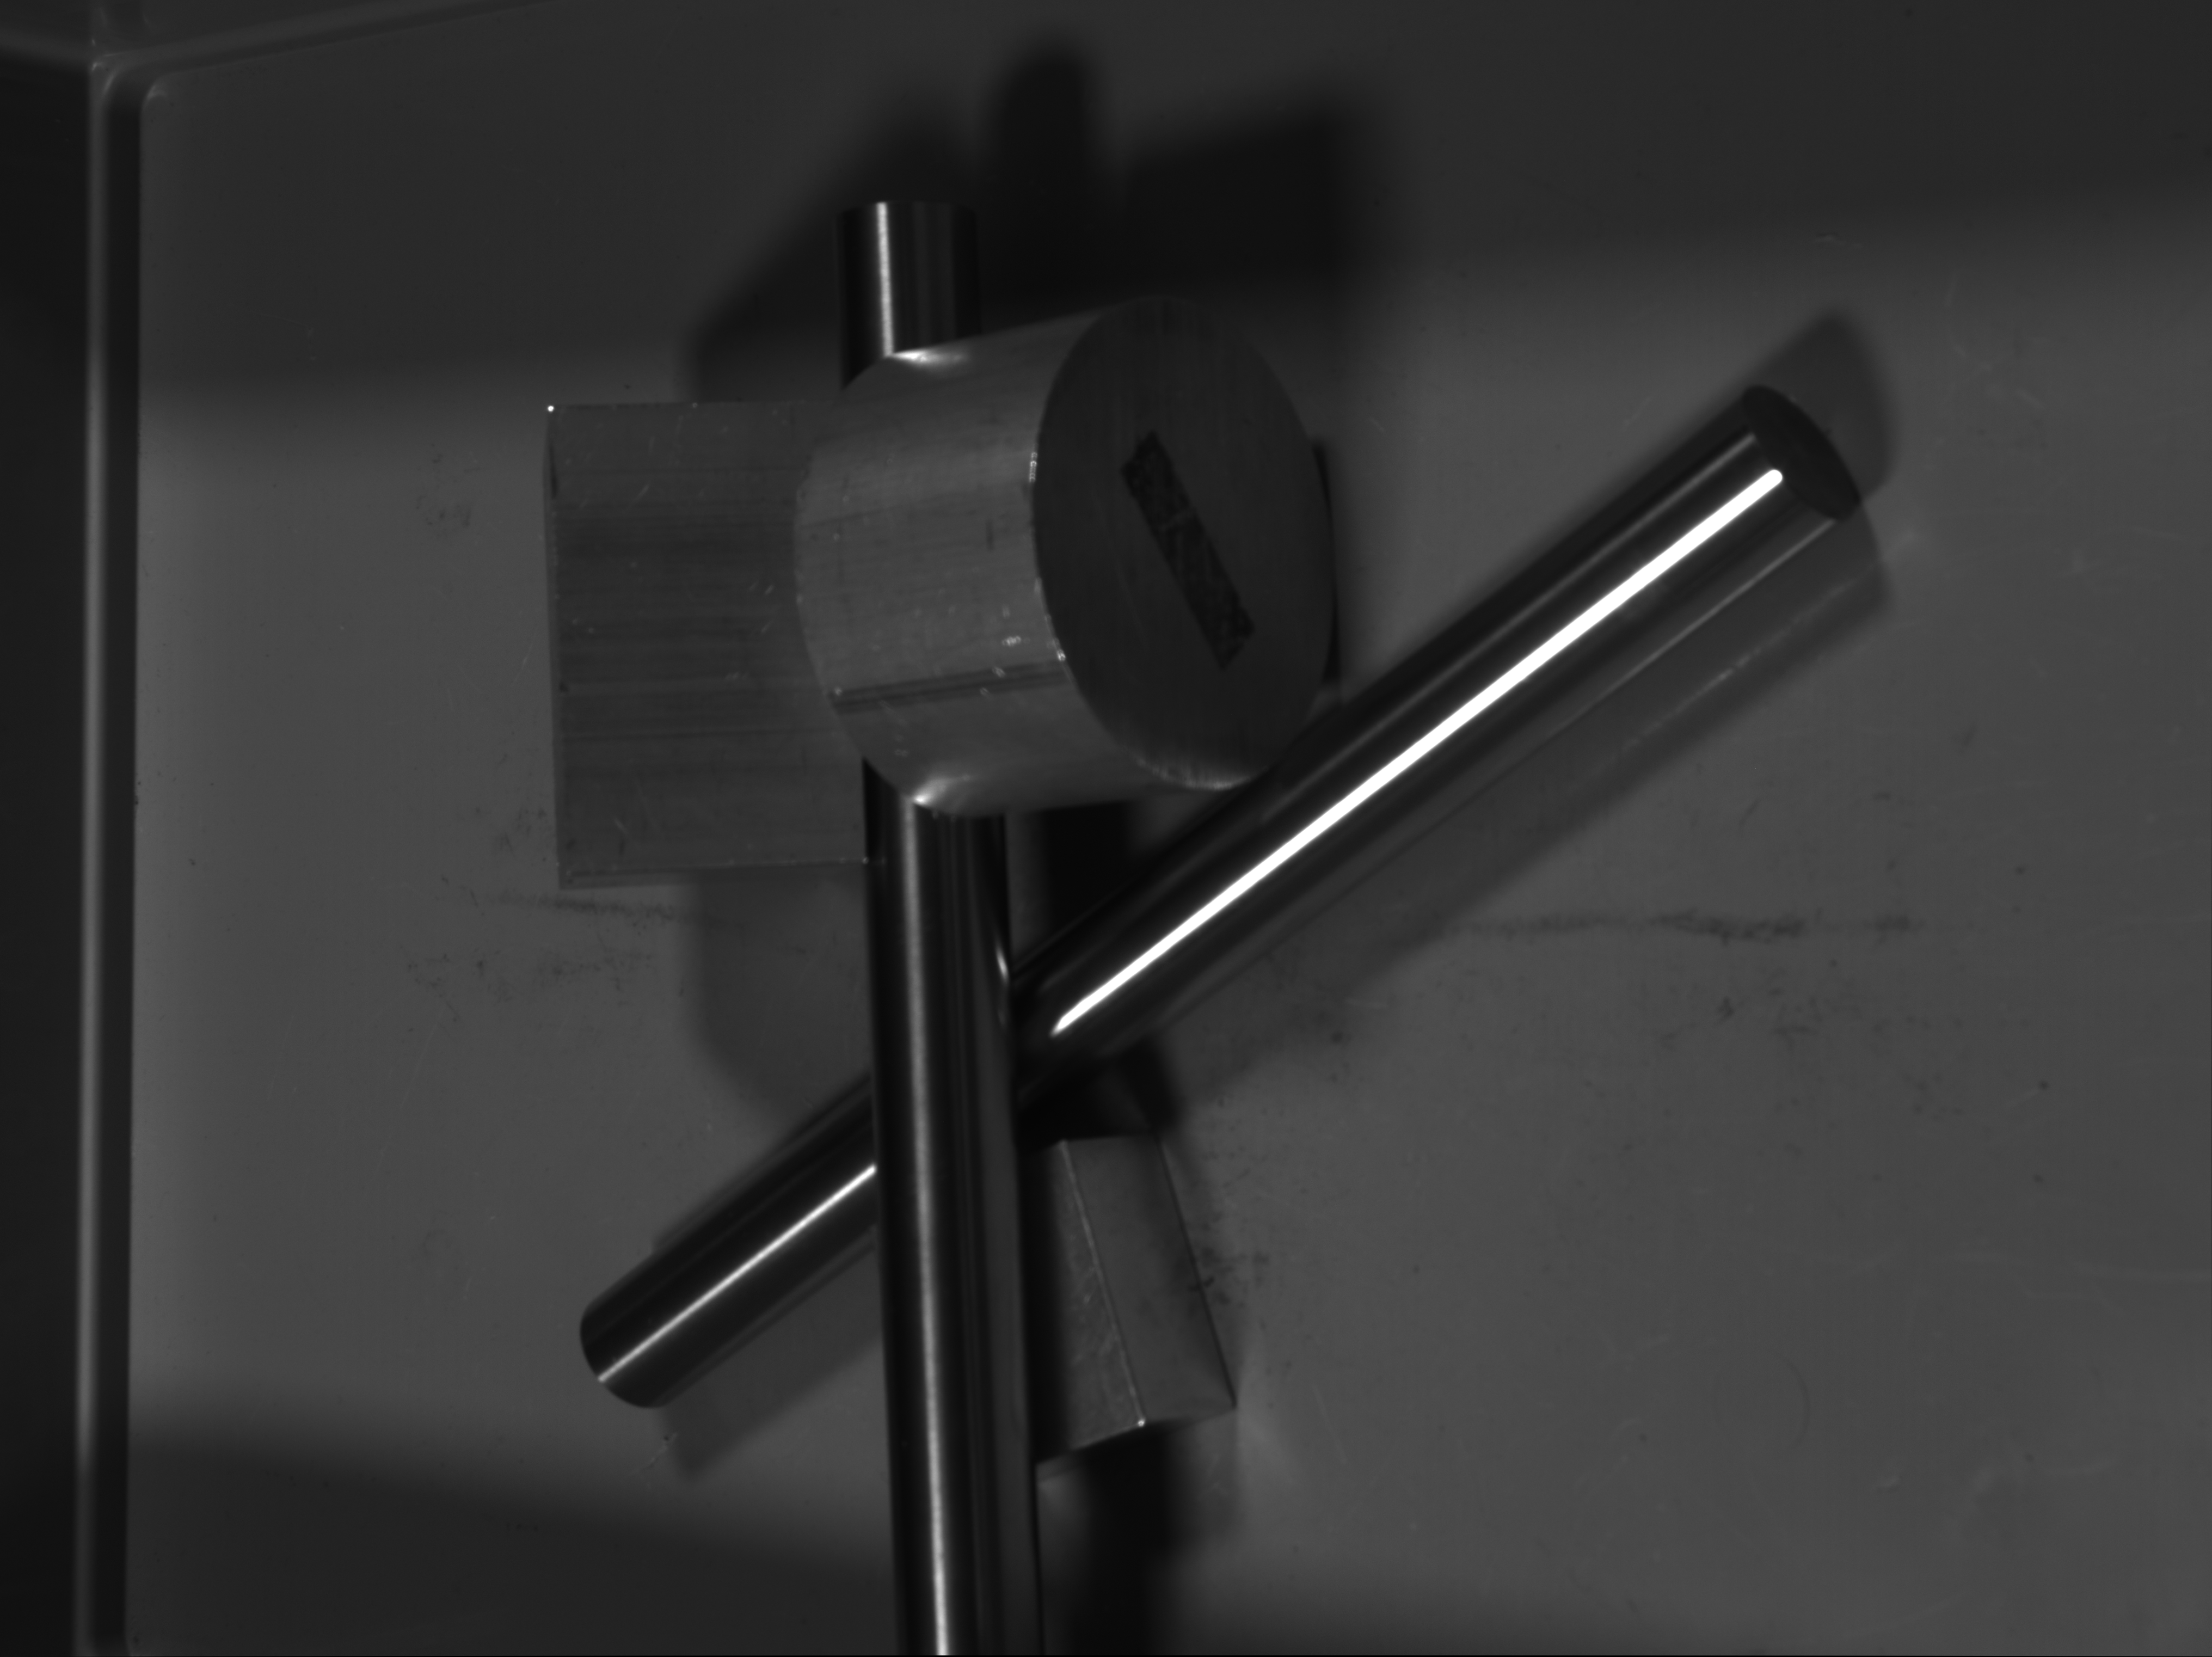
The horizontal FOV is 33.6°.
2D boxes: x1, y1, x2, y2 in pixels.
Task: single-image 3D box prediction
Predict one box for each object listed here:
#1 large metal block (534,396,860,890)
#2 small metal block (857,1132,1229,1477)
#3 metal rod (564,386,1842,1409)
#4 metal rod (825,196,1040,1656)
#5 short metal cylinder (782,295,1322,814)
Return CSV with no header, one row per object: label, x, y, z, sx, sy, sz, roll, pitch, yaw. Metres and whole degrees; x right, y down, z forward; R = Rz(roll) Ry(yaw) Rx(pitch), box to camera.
large metal block,-0.075,-0.031,0.655,0.080,0.050,0.080,164,104,-80
small metal block,-0.012,0.086,0.644,0.050,0.025,0.050,-27,73,36
metal rod,0.004,0.023,0.631,0.300,0.025,0.025,-39,67,33
metal rod,-0.028,0.043,0.625,0.025,0.025,0.300,-6,85,39
short metal cylinder,-0.008,-0.044,0.605,0.050,0.080,0.080,-6,86,38
